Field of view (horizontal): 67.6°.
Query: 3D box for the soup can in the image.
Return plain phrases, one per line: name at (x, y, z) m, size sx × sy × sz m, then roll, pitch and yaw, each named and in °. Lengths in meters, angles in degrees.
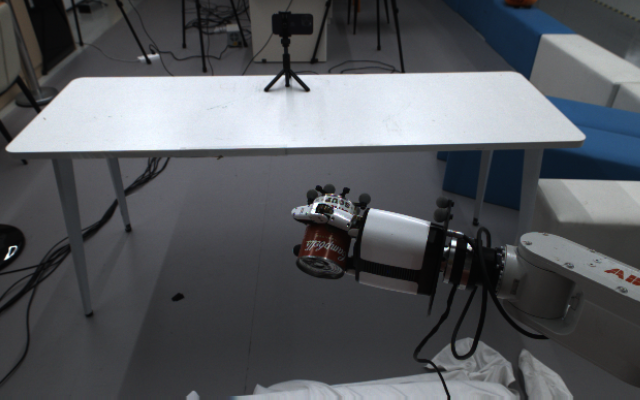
soup can at (0.012, 0.050, 0.673) m, size 0.067 × 0.067 × 0.101 m, roll 9°, pitch 58°, yaw 10°
